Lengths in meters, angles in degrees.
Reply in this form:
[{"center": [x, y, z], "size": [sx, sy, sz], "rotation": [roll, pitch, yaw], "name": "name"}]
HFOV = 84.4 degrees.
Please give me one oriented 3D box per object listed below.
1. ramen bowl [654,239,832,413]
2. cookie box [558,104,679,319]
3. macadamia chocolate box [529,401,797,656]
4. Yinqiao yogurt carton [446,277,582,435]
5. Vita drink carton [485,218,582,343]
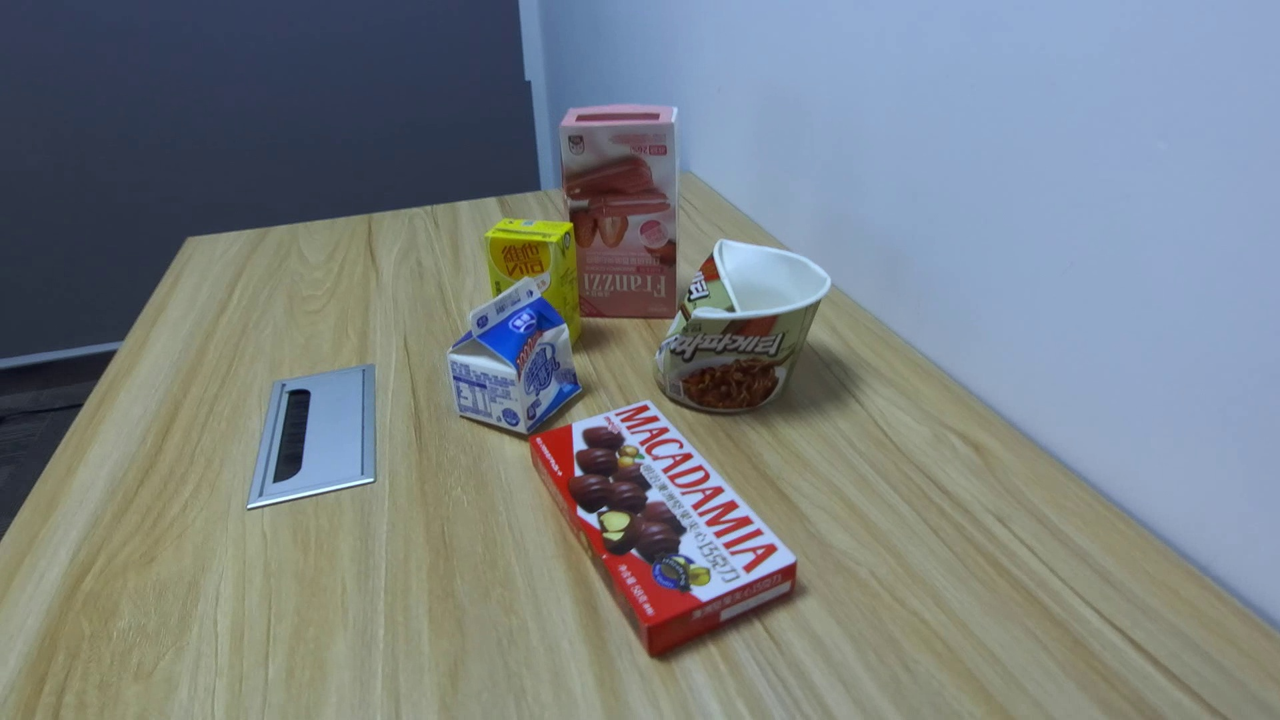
[{"center": [0.072, -0.023, 0.547], "size": [0.137, 0.098, 0.137], "rotation": [-2, 35, 2], "name": "ramen bowl"}, {"center": [-0.017, -0.128, 0.634], "size": [0.105, 0.188, 0.049], "rotation": [2, 32, 7], "name": "cookie box"}, {"center": [0.007, 0.091, 0.439], "size": [0.096, 0.027, 0.177], "rotation": [-16, 35, -22], "name": "macadamia chocolate box"}, {"center": [-0.095, -0.006, 0.534], "size": [0.070, 0.094, 0.077], "rotation": [12, 33, 31], "name": "Yinqiao yogurt carton"}, {"center": [-0.089, -0.063, 0.609], "size": [0.066, 0.109, 0.043], "rotation": [7, 33, 13], "name": "Vita drink carton"}]
